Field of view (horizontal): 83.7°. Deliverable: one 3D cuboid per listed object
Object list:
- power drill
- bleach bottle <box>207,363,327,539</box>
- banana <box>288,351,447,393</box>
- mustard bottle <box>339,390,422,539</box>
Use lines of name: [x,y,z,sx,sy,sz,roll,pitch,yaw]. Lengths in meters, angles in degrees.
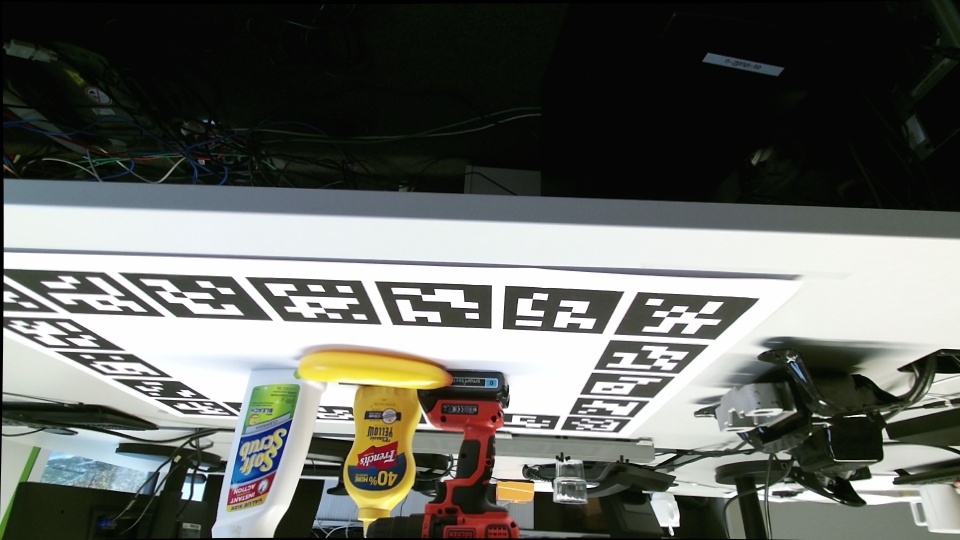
power drill: [-0.037,0.253,0.665,0.185,0.186,0.057,3,155,6]
bleach bottle: [-0.270,0.245,0.672,0.103,0.249,0.068,-2,147,9]
banana: [-0.138,0.126,0.645,0.198,0.038,0.074,3,144,-2]
mustard bottle: [-0.139,0.264,0.729,0.096,0.190,0.058,4,149,2]
